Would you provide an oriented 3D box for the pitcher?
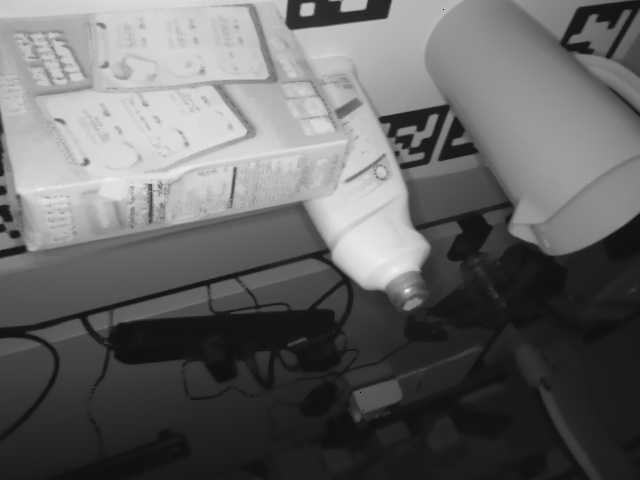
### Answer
[{"bbox_3d":[0.210,-0.083,0.663,0.188,0.243,0.133,-24,148,5],"label":"pitcher"}]

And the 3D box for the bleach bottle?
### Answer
[{"bbox_3d":[0.027,-0.023,0.663,0.103,0.251,0.067,-16,147,-13],"label":"bleach bottle"}]

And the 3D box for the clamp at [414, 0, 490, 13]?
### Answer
[{"bbox_3d":[0.159,-0.251,0.621,0.165,0.036,0.122,-24,149,2],"label":"clamp"}]

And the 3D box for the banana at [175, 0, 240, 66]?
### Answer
[{"bbox_3d":[-0.052,-0.211,0.555,0.195,0.039,0.075,-35,146,16],"label":"banana"}]

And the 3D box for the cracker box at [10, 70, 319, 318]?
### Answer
[{"bbox_3d":[-0.128,-0.045,0.582,0.216,0.164,0.071,-16,149,-15],"label":"cracker box"}]
